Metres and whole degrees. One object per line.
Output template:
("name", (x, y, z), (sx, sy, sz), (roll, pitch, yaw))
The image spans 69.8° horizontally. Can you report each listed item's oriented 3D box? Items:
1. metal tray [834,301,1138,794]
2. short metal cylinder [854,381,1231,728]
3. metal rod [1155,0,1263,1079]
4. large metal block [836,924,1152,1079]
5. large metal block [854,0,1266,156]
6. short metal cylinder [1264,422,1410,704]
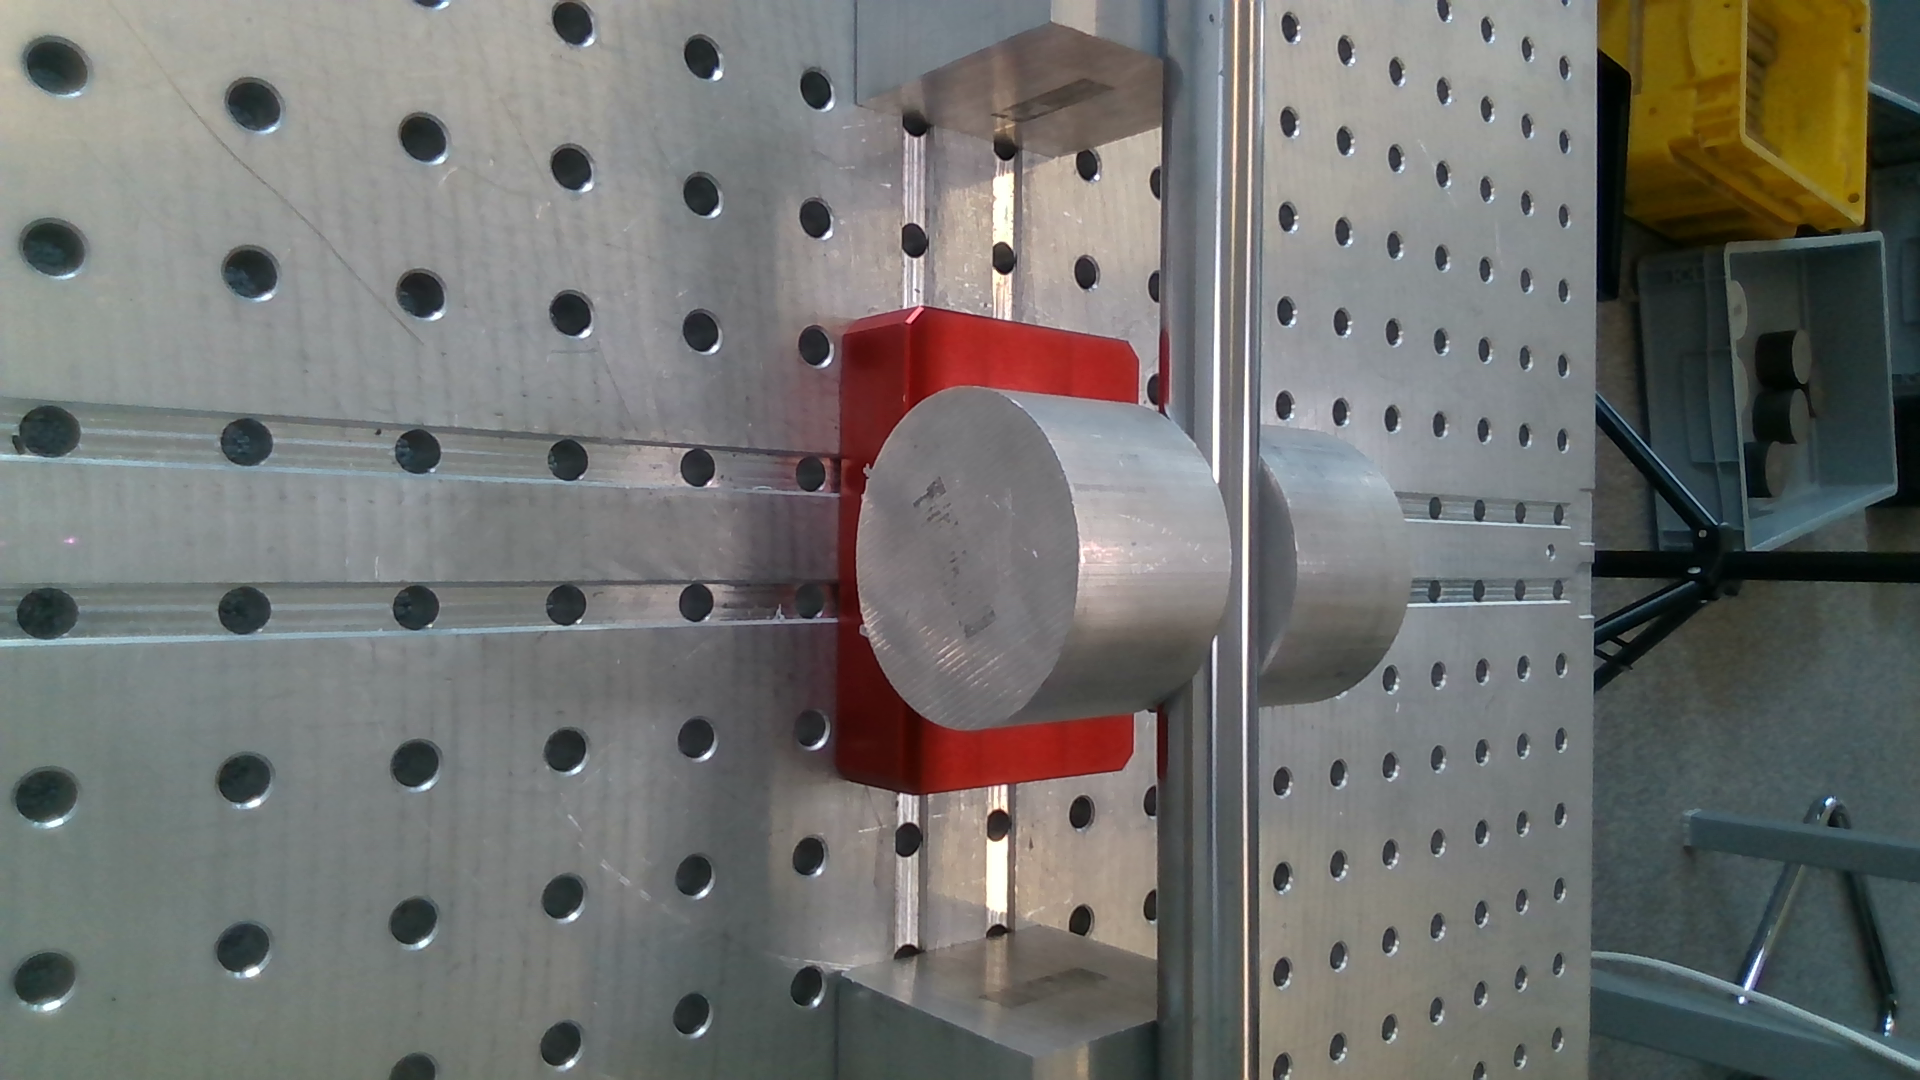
("metal tray", (0.010, 0.003, 0.399), (0.090, 0.030, 0.130), (2, 89, -40))
("short metal cylinder", (0.018, 0.004, 0.335), (0.050, 0.080, 0.080), (1, 89, -40))
("metal rod", (0.062, -0.002, 0.341), (0.025, 0.025, 0.300), (0, 90, -40))
("large metal block", (0.022, 0.145, 0.376), (0.080, 0.080, 0.050), (1, 89, -40))
("large metal block", (0.027, -0.147, 0.379), (0.080, 0.080, 0.050), (1, 89, -40))
("short metal cylinder", (0.076, 0.006, 0.383), (0.050, 0.080, 0.080), (1, 89, -40))
